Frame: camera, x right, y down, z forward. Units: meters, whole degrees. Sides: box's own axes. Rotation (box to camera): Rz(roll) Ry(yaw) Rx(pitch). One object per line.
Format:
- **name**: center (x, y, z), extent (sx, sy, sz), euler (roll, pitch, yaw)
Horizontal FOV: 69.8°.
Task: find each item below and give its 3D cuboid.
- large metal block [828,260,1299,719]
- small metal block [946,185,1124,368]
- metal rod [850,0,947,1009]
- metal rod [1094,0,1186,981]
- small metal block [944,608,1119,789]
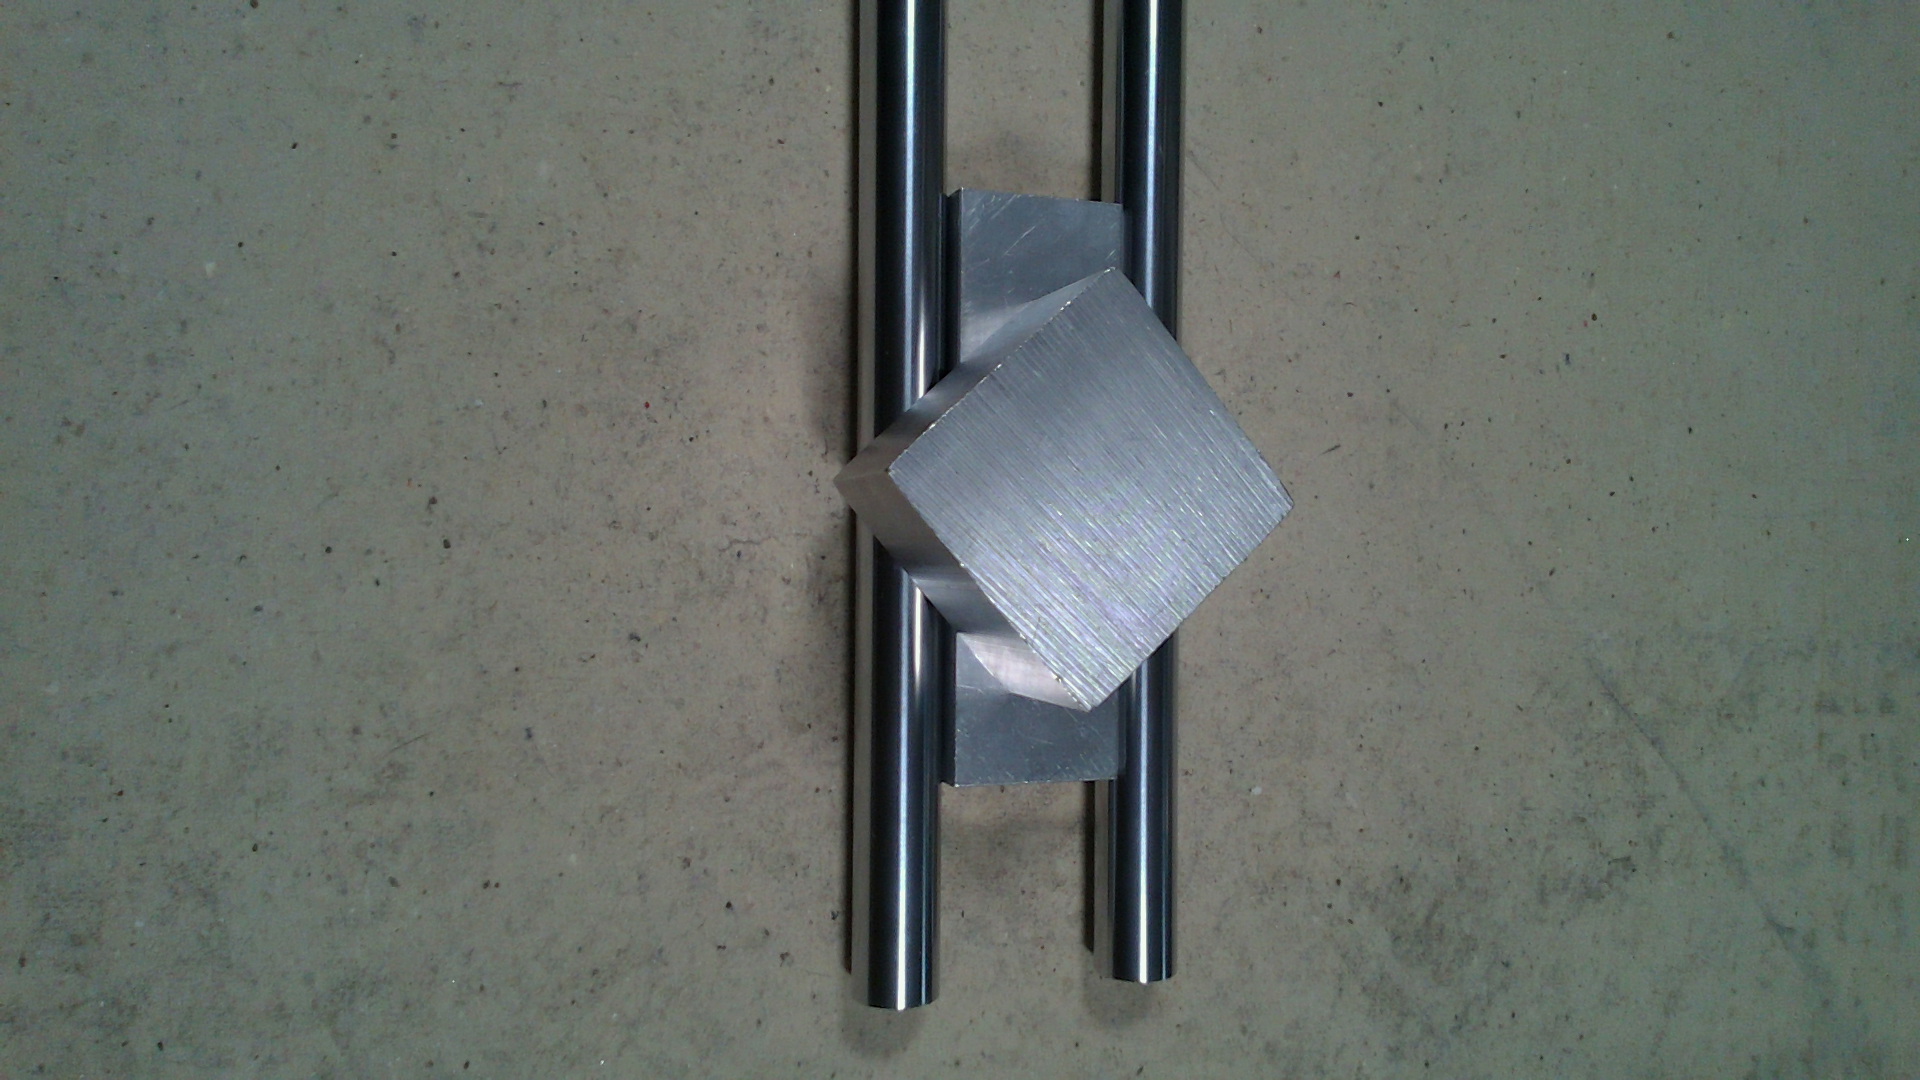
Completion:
- **large metal block**: center (0.027, -0.013, 0.361), extent (0.080, 0.050, 0.080), euler (-43, 103, -15)
- **small metal block**: center (0.019, -0.073, 0.399), extent (0.050, 0.025, 0.050), euler (1, 90, -20)
- **metal rod**: center (-0.017, -0.022, 0.388), extent (0.025, 0.025, 0.300), euler (1, 90, -20)
- **metal rod**: center (0.054, -0.021, 0.414), extent (0.025, 0.025, 0.300), euler (1, 90, -20)
- **small metal block**: center (0.018, 0.044, 0.399), extent (0.050, 0.025, 0.050), euler (1, 90, -20)
